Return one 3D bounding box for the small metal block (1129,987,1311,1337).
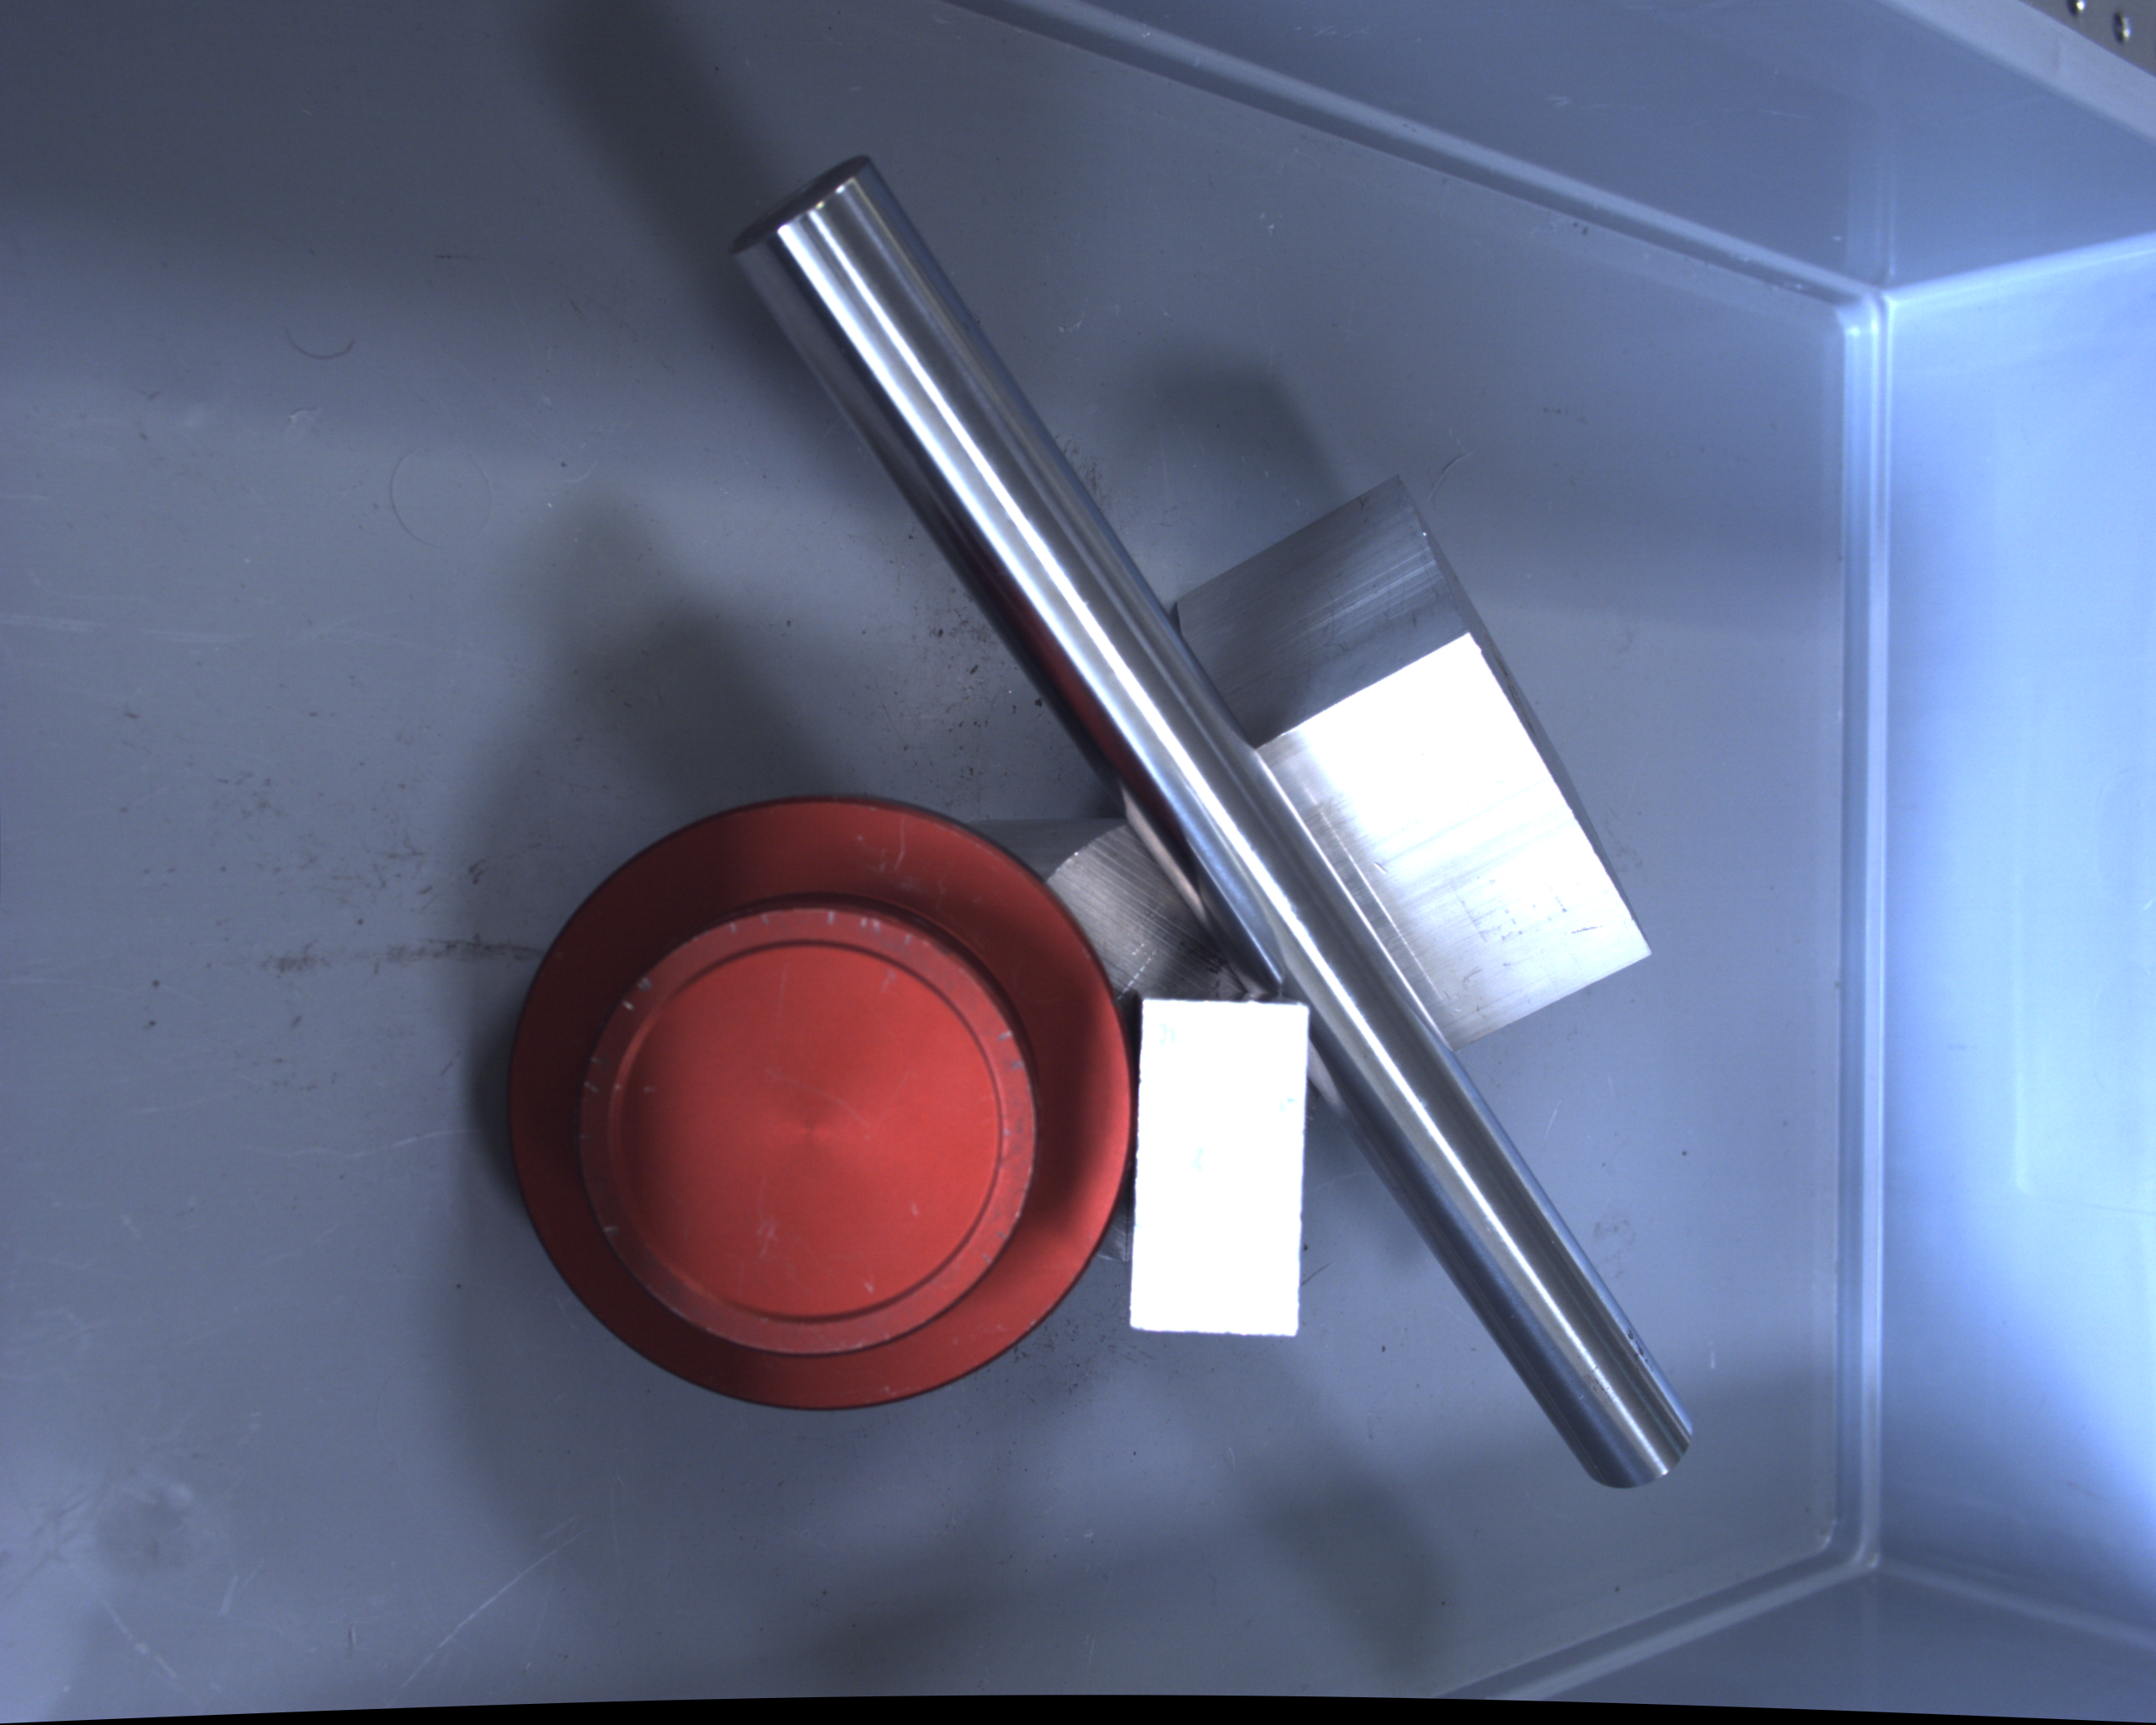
[{"bbox_3d":[0.022,0.046,0.339,0.025,0.050,0.050,3,89,0],"label":"small metal block"}]

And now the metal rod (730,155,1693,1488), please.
[{"bbox_3d":[0.038,0.012,0.372,0.025,0.025,0.300,-51,120,-28],"label":"metal rod"}]

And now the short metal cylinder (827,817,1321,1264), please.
[{"bbox_3d":[0.000,0.031,0.388,0.081,0.050,0.079,0,90,-40],"label":"short metal cylinder"}]

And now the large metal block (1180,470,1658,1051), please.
[{"bbox_3d":[0.065,-0.020,0.415,0.080,0.050,0.080,54,16,-27],"label":"large metal block"}]

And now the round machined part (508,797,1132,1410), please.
[{"bbox_3d":[-0.040,0.038,0.327,0.099,0.042,0.097,0,93,-2],"label":"round machined part"}]
